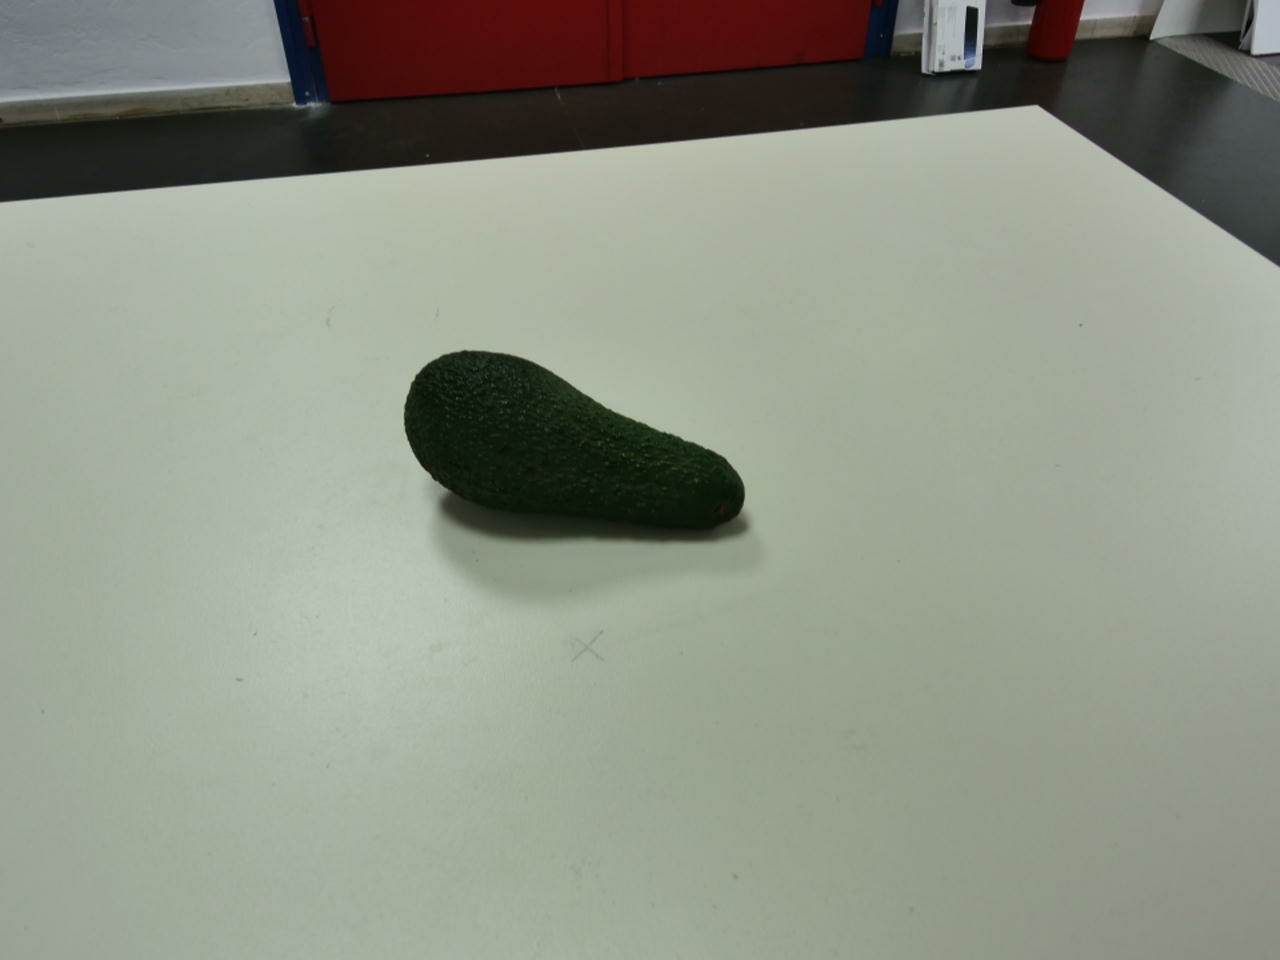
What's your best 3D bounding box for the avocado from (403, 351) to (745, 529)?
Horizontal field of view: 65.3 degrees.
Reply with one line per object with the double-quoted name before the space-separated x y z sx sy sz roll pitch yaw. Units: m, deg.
"avocado" -0.027 -0.020 0.410 0.141 0.067 0.063 1 38 1
